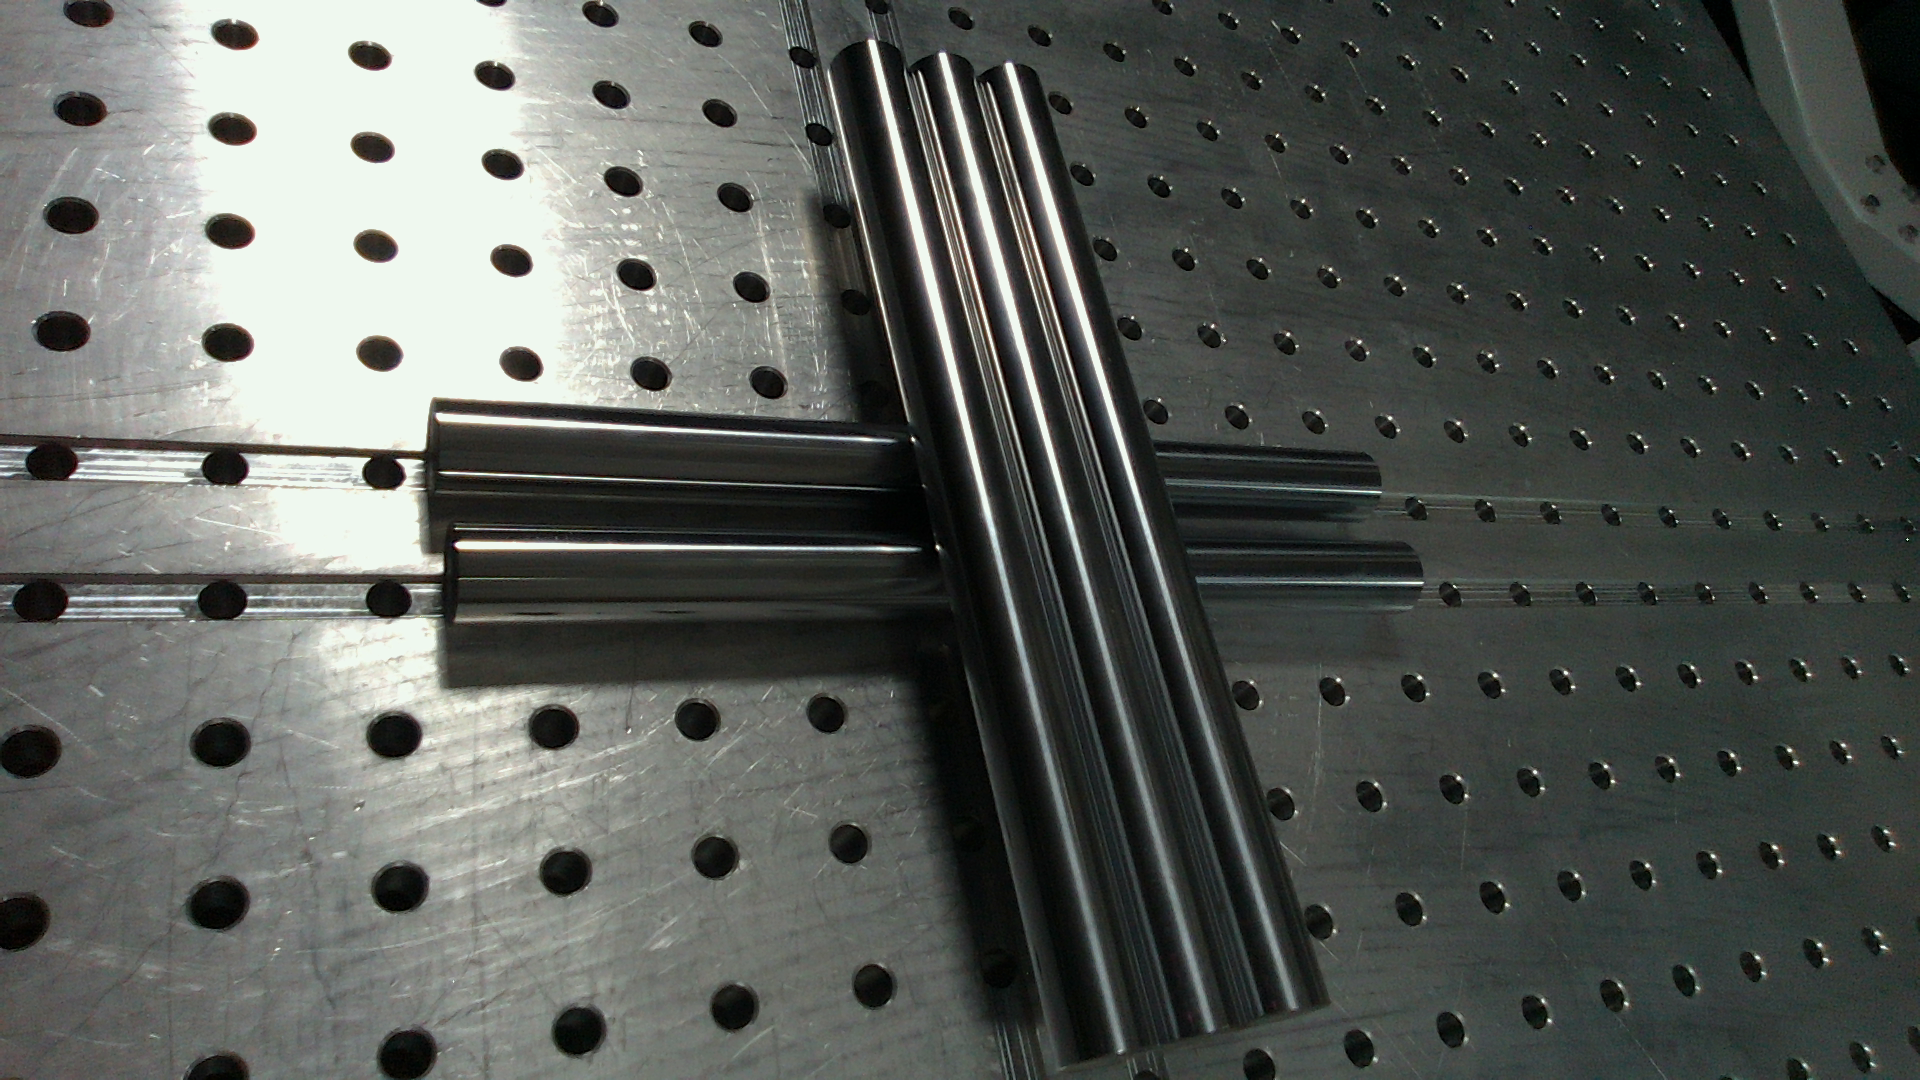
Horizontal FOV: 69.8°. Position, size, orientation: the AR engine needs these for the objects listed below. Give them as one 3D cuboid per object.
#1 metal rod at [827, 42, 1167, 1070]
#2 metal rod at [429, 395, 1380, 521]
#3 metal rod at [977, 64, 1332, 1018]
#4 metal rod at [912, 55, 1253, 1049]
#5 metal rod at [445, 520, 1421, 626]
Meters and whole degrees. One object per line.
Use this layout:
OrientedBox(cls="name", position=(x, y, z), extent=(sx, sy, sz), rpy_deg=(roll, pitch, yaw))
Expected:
OrientedBox(cls="metal rod", position=(0.002, -0.016, 0.372), extent=(0.025, 0.025, 0.300), rpy_deg=(1, 61, -28))
OrientedBox(cls="metal rod", position=(0.004, -0.021, 0.408), extent=(0.301, 0.025, 0.025), rpy_deg=(1, 61, -28))
OrientedBox(cls="metal rod", position=(0.046, -0.018, 0.397), extent=(0.025, 0.025, 0.300), rpy_deg=(1, 61, -28))
OrientedBox(cls="metal rod", position=(0.024, -0.016, 0.384), extent=(0.025, 0.025, 0.300), rpy_deg=(1, 61, -28))
OrientedBox(cls="metal rod", position=(0.013, 0.010, 0.394), extent=(0.301, 0.025, 0.025), rpy_deg=(1, 61, -28))
